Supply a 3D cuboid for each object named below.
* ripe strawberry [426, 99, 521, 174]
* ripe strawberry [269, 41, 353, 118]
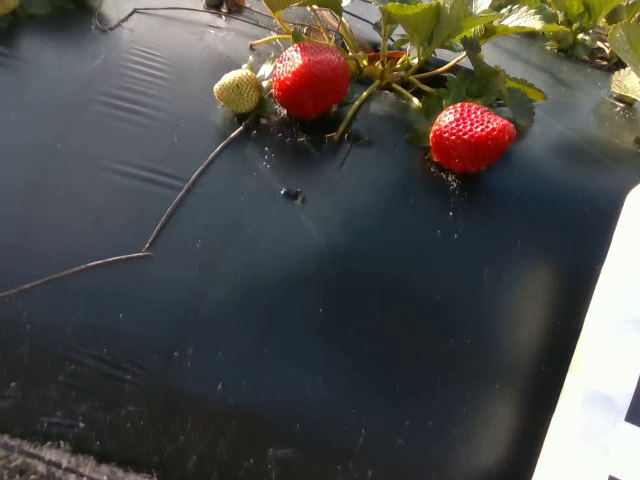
[{"bbox_3d":[0.062,-0.043,0.226,0.033,0.038,0.039,34,-1,-9],"label":"ripe strawberry"},{"bbox_3d":[-0.004,-0.067,0.232,0.035,0.041,0.036,6,10,9],"label":"ripe strawberry"}]
